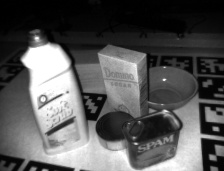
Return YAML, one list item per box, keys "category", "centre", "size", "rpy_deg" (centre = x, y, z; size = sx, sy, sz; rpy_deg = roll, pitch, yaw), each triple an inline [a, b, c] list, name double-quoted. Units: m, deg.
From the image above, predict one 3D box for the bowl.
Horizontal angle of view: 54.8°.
- category: "bowl"
  centre: [0.133, -0.001, 0.550]
  size: [0.161, 0.055, 0.161]
  rpy_deg: [-7, 37, 6]

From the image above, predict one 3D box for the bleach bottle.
- category: "bleach bottle"
  centre: [-0.115, 0.014, 0.413]
  size: [0.103, 0.252, 0.067]
  rpy_deg: [-13, 37, -5]

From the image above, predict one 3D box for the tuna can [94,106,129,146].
- category: "tuna can"
  centre: [-0.001, 0.087, 0.473]
  size: [0.085, 0.034, 0.085]
  rpy_deg: [-5, 41, 5]

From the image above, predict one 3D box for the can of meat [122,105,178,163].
- category: "can of meat"
  centre: [0.073, 0.095, 0.422]
  size: [0.102, 0.084, 0.057]
  rpy_deg: [-14, 35, -11]

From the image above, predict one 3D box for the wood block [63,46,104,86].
- category: "wood block"
  centre: [-0.106, -0.058, 0.637]
  size: [0.205, 0.090, 0.090]
  rpy_deg: [-1, 43, 6]

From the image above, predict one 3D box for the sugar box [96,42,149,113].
- category: "sugar box"
  centre: [0.028, -0.004, 0.469]
  size: [0.091, 0.178, 0.045]
  rpy_deg: [17, 47, 33]
